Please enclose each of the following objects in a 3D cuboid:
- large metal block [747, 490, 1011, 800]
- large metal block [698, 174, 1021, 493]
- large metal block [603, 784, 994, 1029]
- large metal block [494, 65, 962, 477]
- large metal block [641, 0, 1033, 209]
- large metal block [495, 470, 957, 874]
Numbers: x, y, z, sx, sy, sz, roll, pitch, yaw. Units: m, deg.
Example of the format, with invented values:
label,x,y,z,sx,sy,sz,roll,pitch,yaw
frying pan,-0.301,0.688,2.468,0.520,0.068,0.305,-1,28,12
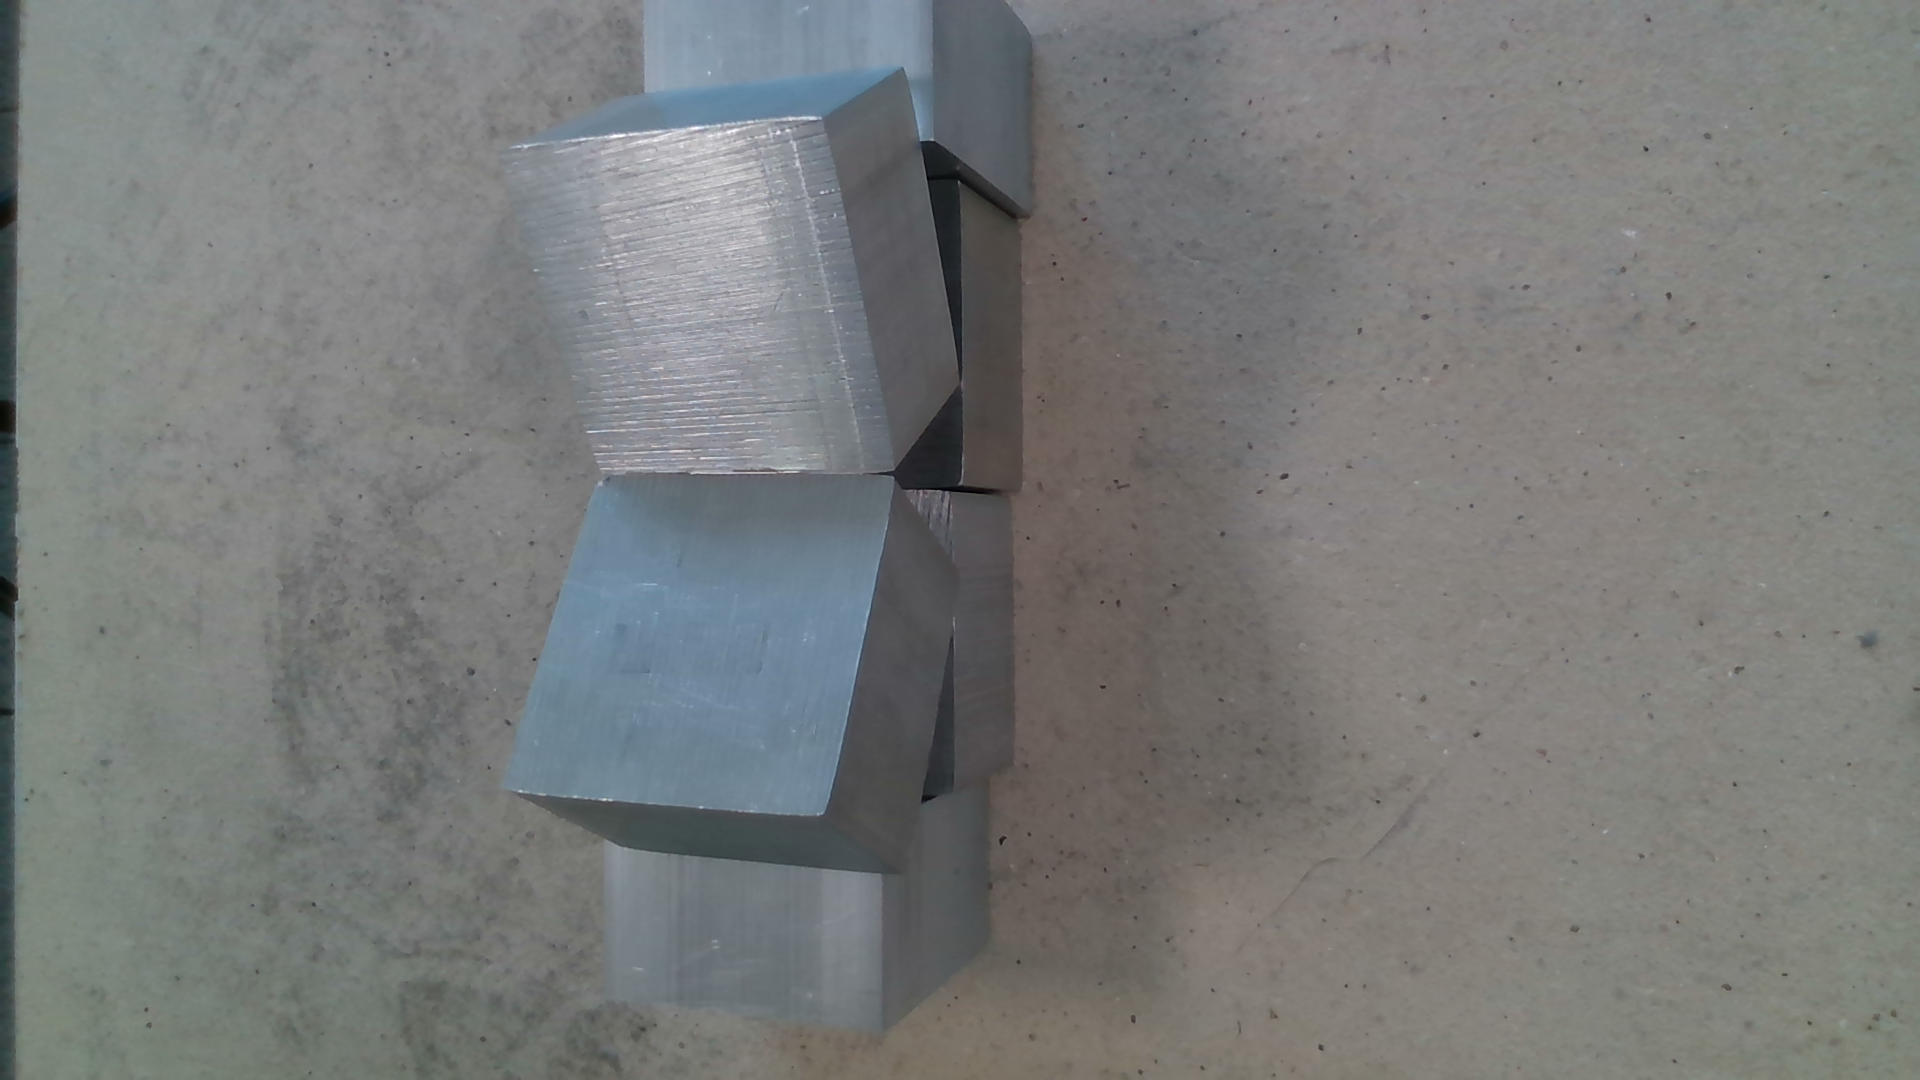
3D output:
label,x,y,z,sx,sy,sz,roll,pitch,yaw
large metal block,-0.031,0.027,0.391,0.080,0.050,0.080,0,90,20
large metal block,-0.028,-0.054,0.390,0.080,0.050,0.080,0,90,20
large metal block,-0.042,0.092,0.382,0.080,0.080,0.050,0,91,20
large metal block,-0.051,-0.063,0.329,0.080,0.050,0.080,0,119,20
large metal block,-0.030,-0.121,0.374,0.080,0.080,0.050,-1,89,19
large metal block,-0.052,0.030,0.330,0.080,0.050,0.080,1,64,20
